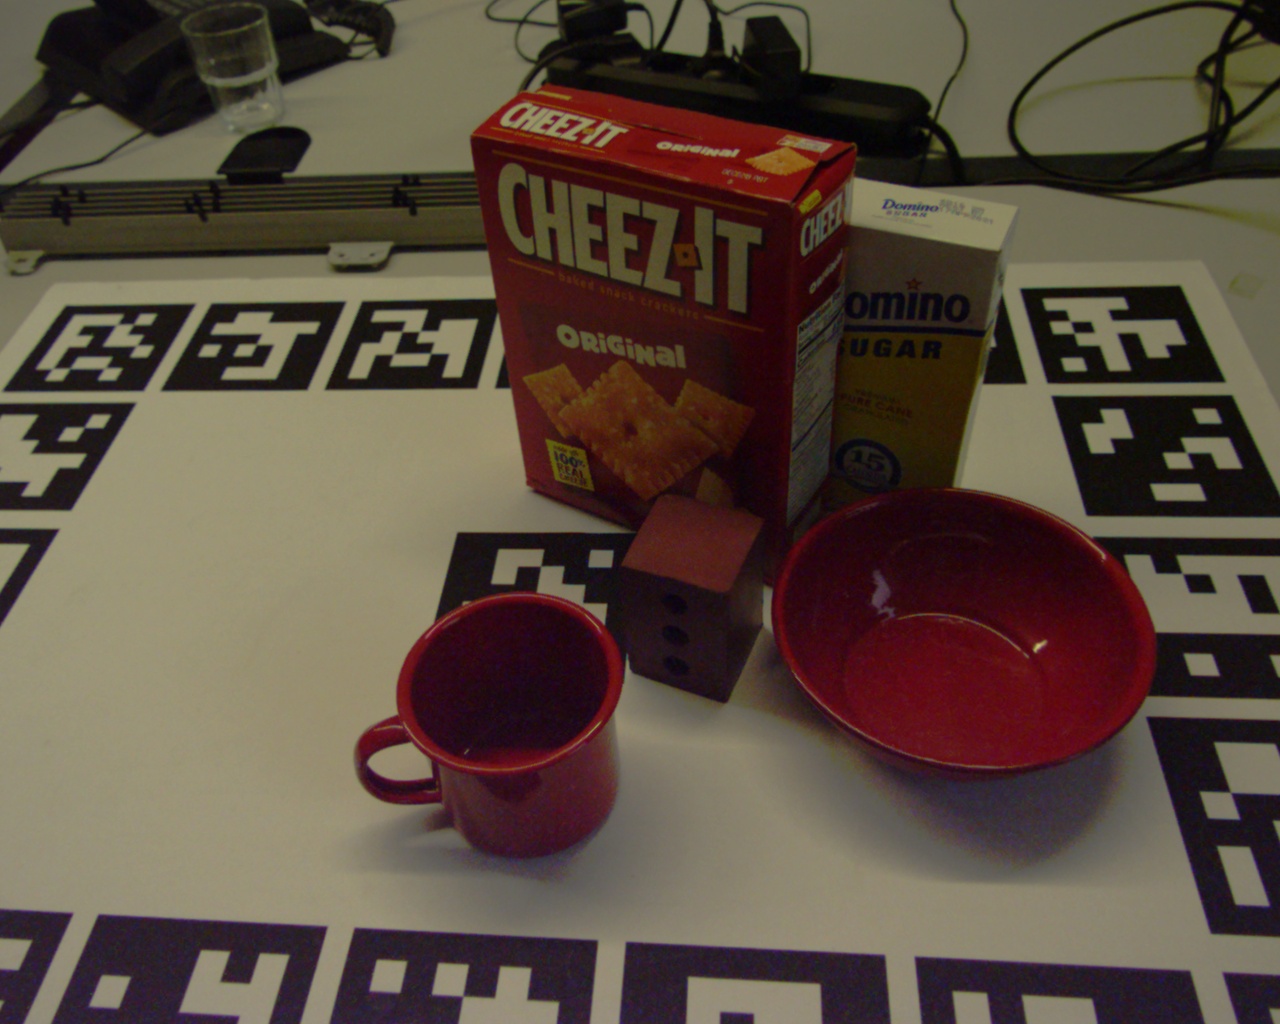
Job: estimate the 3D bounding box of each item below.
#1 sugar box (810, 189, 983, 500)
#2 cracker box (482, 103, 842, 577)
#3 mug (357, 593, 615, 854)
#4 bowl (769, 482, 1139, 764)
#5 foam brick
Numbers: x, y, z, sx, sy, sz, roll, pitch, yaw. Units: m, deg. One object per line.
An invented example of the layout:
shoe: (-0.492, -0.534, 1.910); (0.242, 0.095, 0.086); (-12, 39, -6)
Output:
sugar box: (0.121, -0.080, 0.604); (0.094, 0.175, 0.045); (16, 49, 21)
cracker box: (0.008, -0.083, 0.595); (0.166, 0.212, 0.071); (24, 50, 25)
mug: (-0.067, 0.098, 0.510); (0.117, 0.081, 0.094); (-7, 37, 1)
bowl: (0.141, 0.060, 0.534); (0.162, 0.055, 0.162); (-4, 46, 3)
foam brick: (0.022, 0.039, 0.573); (0.053, 0.077, 0.051); (11, 47, 17)
